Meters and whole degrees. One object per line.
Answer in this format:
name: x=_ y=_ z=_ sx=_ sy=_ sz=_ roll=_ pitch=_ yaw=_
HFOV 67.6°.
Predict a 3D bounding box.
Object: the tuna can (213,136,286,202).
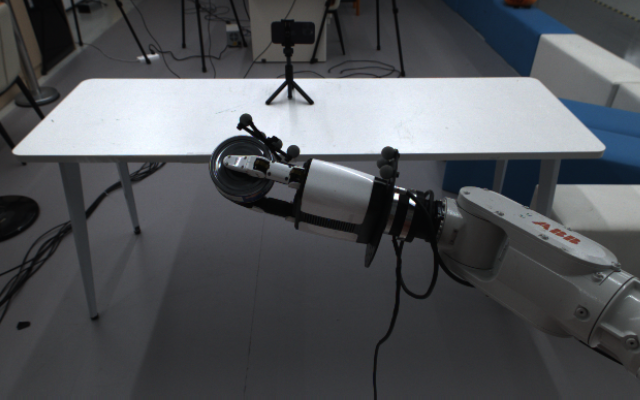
tuna can: x=-0.097 y=-0.035 z=0.635 sx=0.085 sy=0.034 sz=0.085 roll=0 pitch=73 yaw=-1
